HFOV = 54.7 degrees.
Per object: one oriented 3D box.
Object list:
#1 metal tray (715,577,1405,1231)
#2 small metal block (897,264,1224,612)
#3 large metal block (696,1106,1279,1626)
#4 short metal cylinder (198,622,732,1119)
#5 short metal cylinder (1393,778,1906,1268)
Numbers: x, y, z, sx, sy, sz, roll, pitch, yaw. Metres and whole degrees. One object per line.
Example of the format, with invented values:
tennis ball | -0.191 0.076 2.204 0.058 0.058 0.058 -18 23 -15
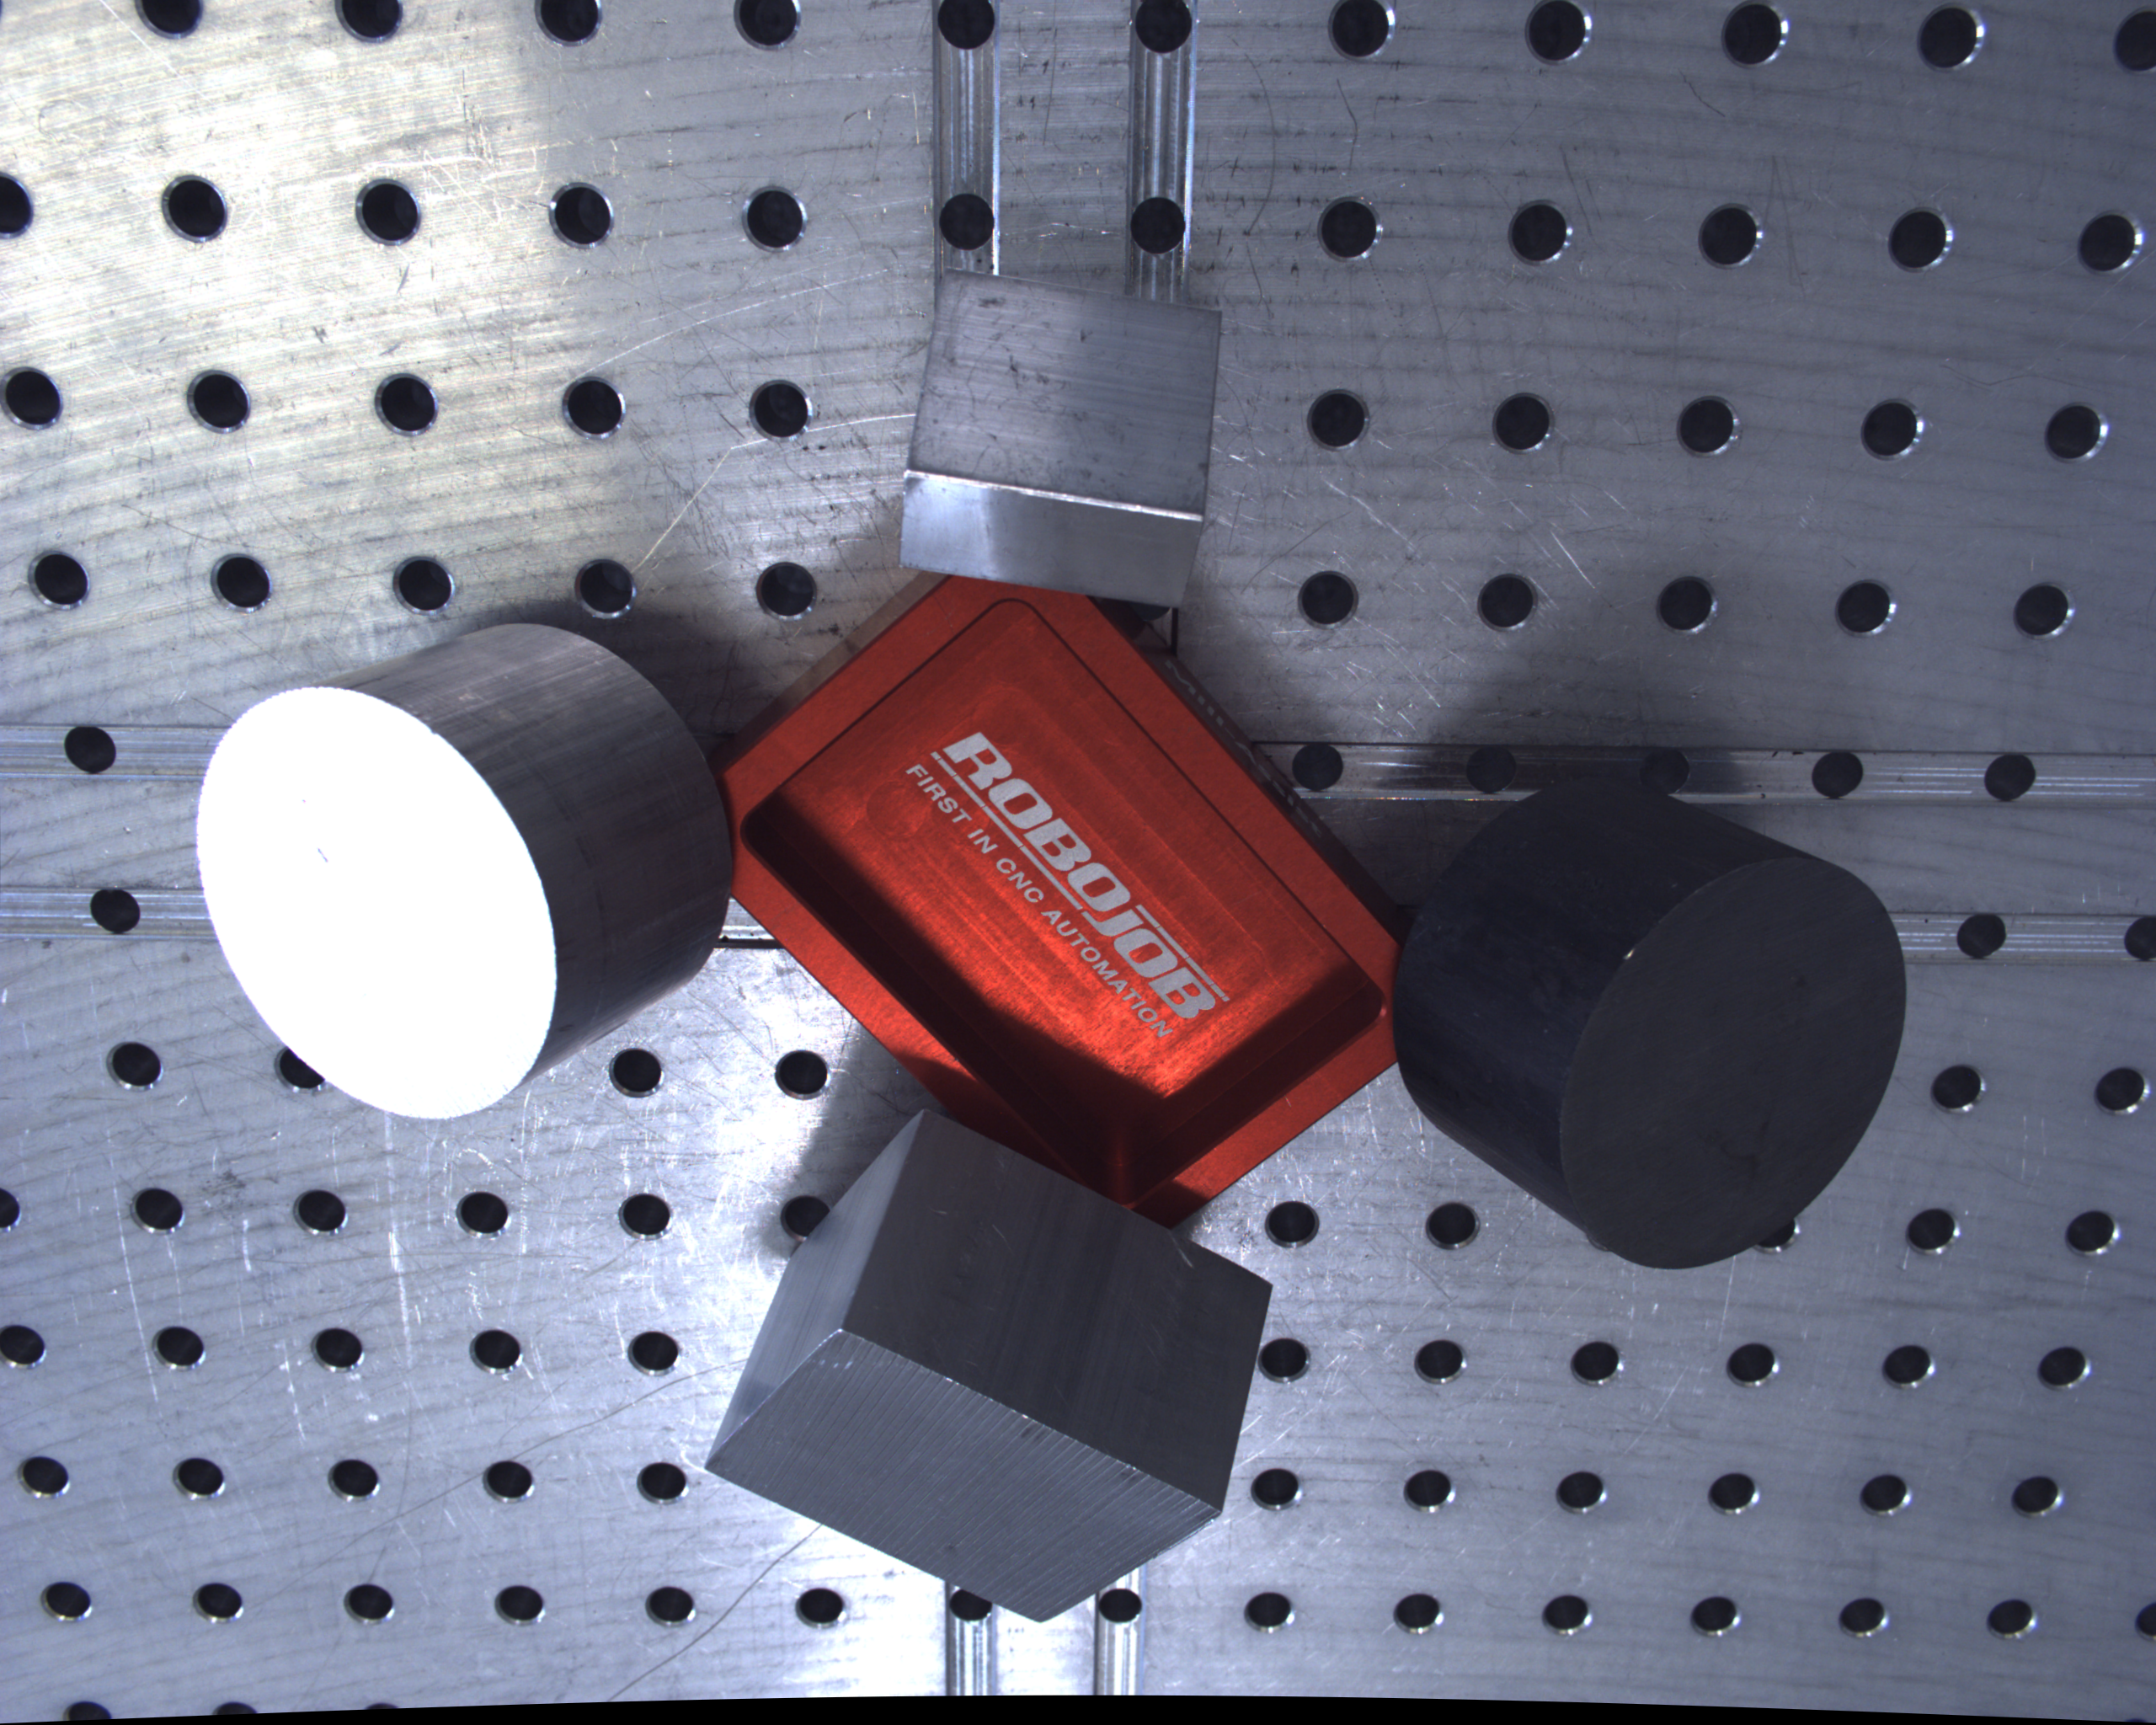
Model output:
metal tray | -0.001 0.006 0.412 0.090 0.030 0.130 -40 106 13
small metal block | -0.003 -0.075 0.369 0.050 0.050 0.025 9 148 -3
large metal block | -0.019 0.104 0.420 0.080 0.050 0.080 29 138 -11
short metal cylinder | -0.112 0.000 0.383 0.080 0.050 0.079 9 113 24
short metal cylinder | 0.108 0.029 0.395 0.081 0.050 0.079 -10 113 -25
